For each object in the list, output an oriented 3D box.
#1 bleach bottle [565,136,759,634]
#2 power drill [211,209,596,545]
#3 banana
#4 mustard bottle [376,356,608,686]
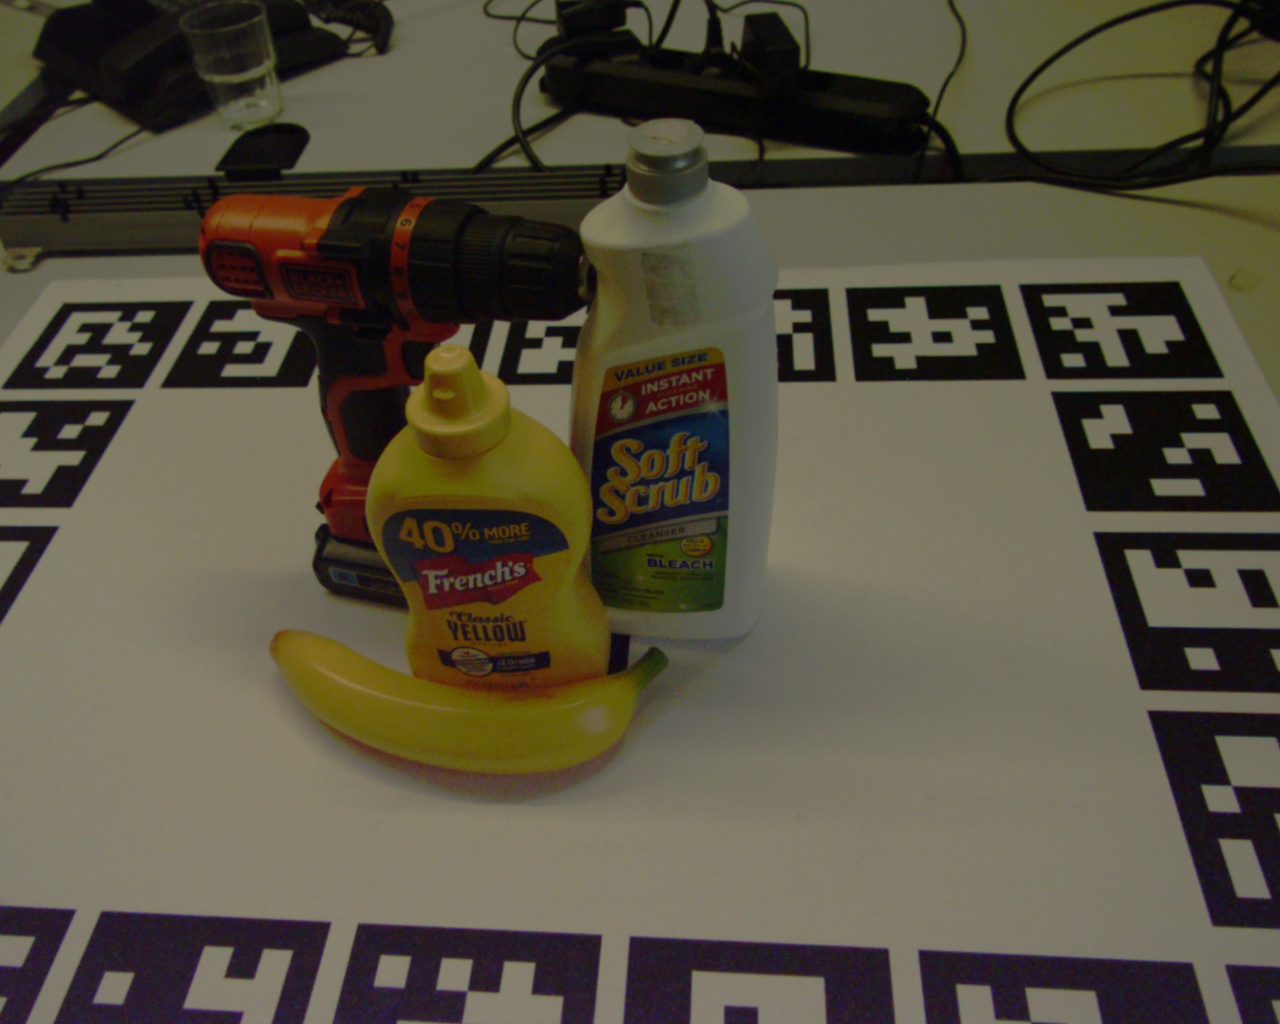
[{"bbox_3d":[0.004,-0.050,0.536,0.103,0.249,0.068,3,41,8],"label":"bleach bottle"},{"bbox_3d":[-0.105,-0.058,0.561,0.186,0.186,0.057,11,47,13],"label":"power drill"},{"bbox_3d":[-0.085,0.088,0.565,0.198,0.038,0.074,2,48,12],"label":"banana"},{"bbox_3d":[-0.068,0.008,0.522,0.096,0.190,0.058,1,47,6],"label":"mustard bottle"}]
